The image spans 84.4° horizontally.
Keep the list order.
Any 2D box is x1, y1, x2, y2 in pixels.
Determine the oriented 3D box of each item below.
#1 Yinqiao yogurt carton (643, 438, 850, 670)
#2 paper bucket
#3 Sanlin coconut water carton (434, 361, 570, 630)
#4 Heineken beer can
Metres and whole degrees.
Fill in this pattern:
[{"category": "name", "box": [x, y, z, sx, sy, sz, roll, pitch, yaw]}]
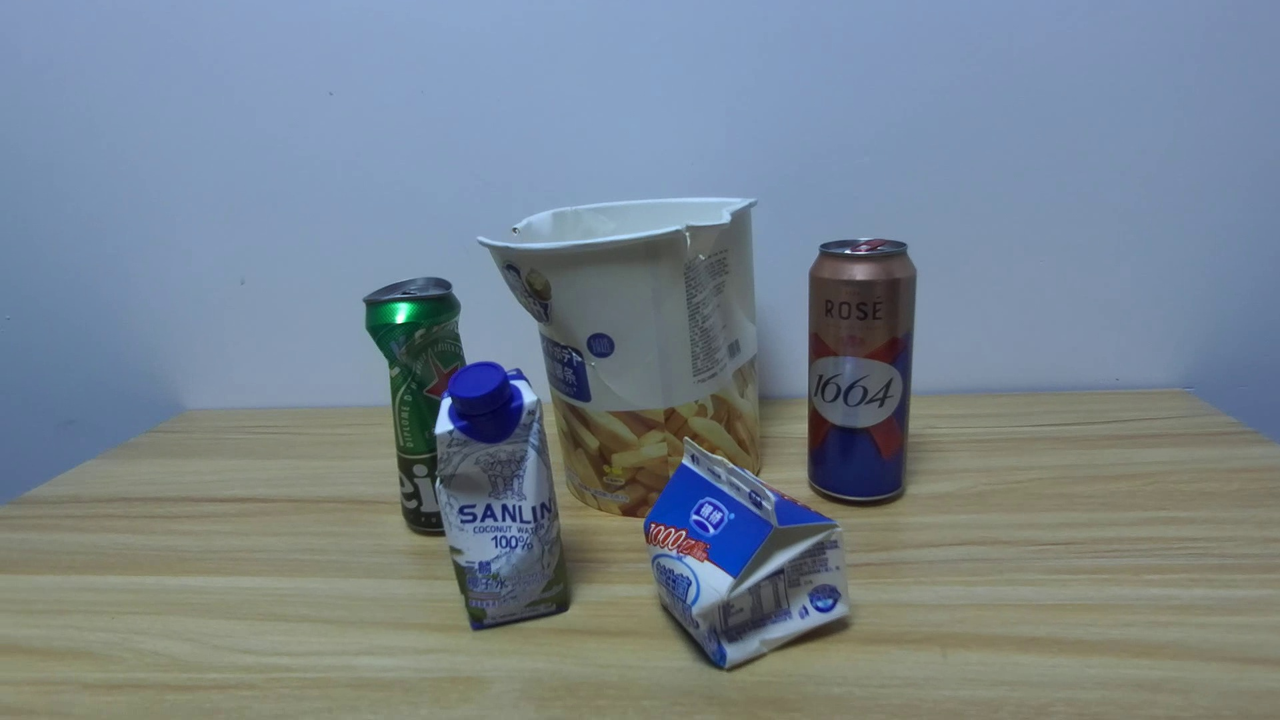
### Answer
[{"category": "Yinqiao yogurt carton", "box": [0.047, 0.091, 0.350, 0.080, 0.097, 0.074, -21, 23, -23]}, {"category": "paper bucket", "box": [0.007, -0.009, 0.503, 0.145, 0.197, 0.203, 0, 19, 18]}, {"category": "Sanlin coconut water carton", "box": [-0.077, 0.066, 0.377, 0.061, 0.144, 0.069, -9, 20, -10]}, {"category": "Heineken beer can", "box": [-0.138, 0.030, 0.478, 0.065, 0.164, 0.078, 11, 26, 41]}]
